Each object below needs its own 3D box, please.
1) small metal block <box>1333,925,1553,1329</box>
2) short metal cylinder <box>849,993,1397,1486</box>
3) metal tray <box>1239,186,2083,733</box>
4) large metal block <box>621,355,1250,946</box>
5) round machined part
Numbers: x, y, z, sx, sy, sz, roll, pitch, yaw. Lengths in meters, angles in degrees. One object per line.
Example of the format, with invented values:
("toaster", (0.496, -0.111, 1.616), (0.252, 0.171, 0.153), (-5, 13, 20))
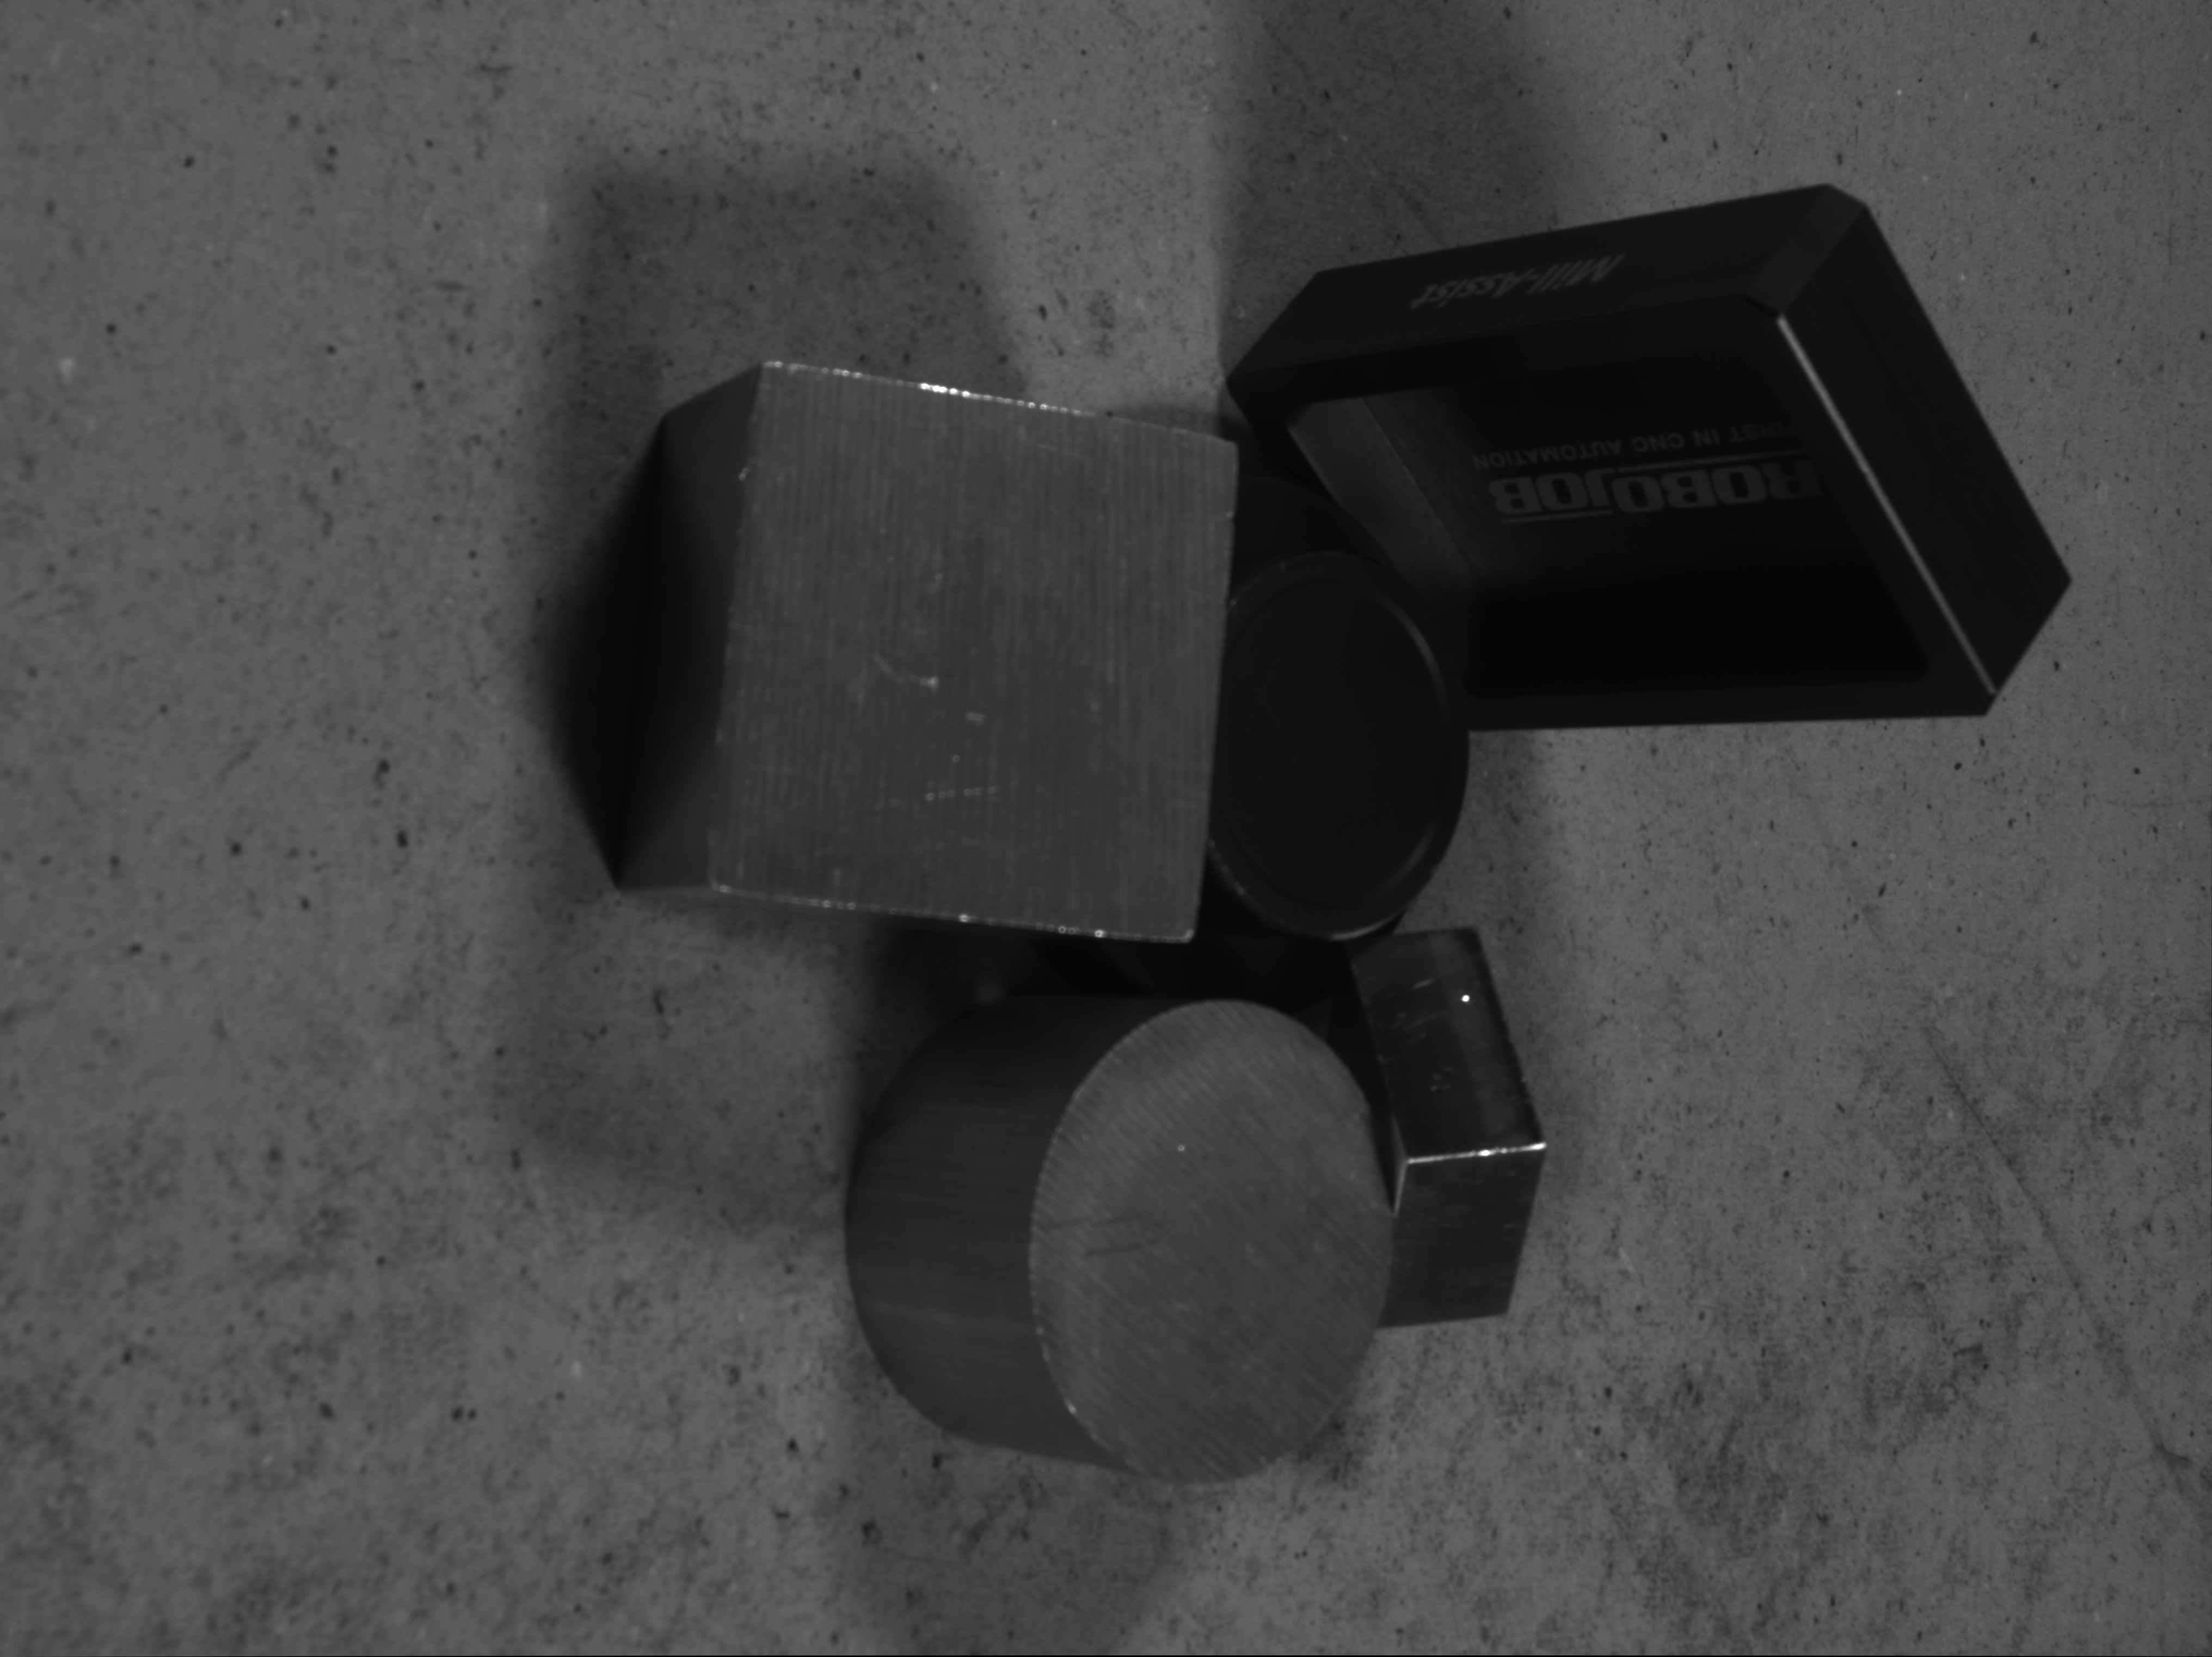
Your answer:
("small metal block", (0.058, 0.054, 0.656), (0.025, 0.050, 0.050), (-5, 138, -9))
("short metal cylinder", (0.003, 0.068, 0.624), (0.080, 0.050, 0.080), (0, 90, -40))
("metal tray", (0.095, -0.061, 0.647), (0.030, 0.130, 0.090), (-52, 120, -28))
("large metal block", (-0.027, -0.025, 0.582), (0.080, 0.050, 0.080), (7, 85, -22))
("round machined part", (0.027, -0.015, 0.650), (0.098, 0.042, 0.098), (0, 90, -40))
